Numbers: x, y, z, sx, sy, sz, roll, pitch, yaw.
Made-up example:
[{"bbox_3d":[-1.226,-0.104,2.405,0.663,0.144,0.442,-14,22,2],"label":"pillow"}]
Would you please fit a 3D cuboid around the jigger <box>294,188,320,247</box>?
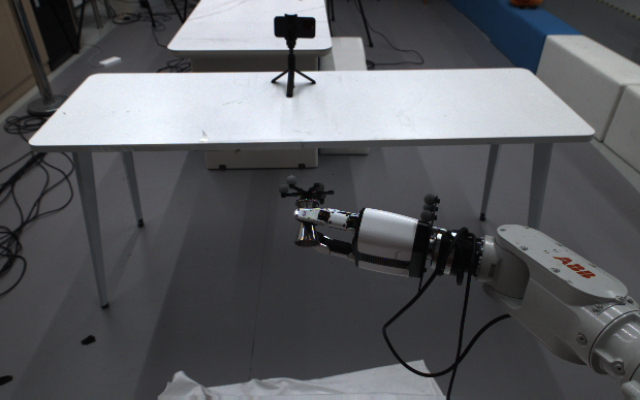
[{"bbox_3d":[-0.021,0.035,0.777,0.043,0.043,0.071,1,70,-2],"label":"jigger"}]
